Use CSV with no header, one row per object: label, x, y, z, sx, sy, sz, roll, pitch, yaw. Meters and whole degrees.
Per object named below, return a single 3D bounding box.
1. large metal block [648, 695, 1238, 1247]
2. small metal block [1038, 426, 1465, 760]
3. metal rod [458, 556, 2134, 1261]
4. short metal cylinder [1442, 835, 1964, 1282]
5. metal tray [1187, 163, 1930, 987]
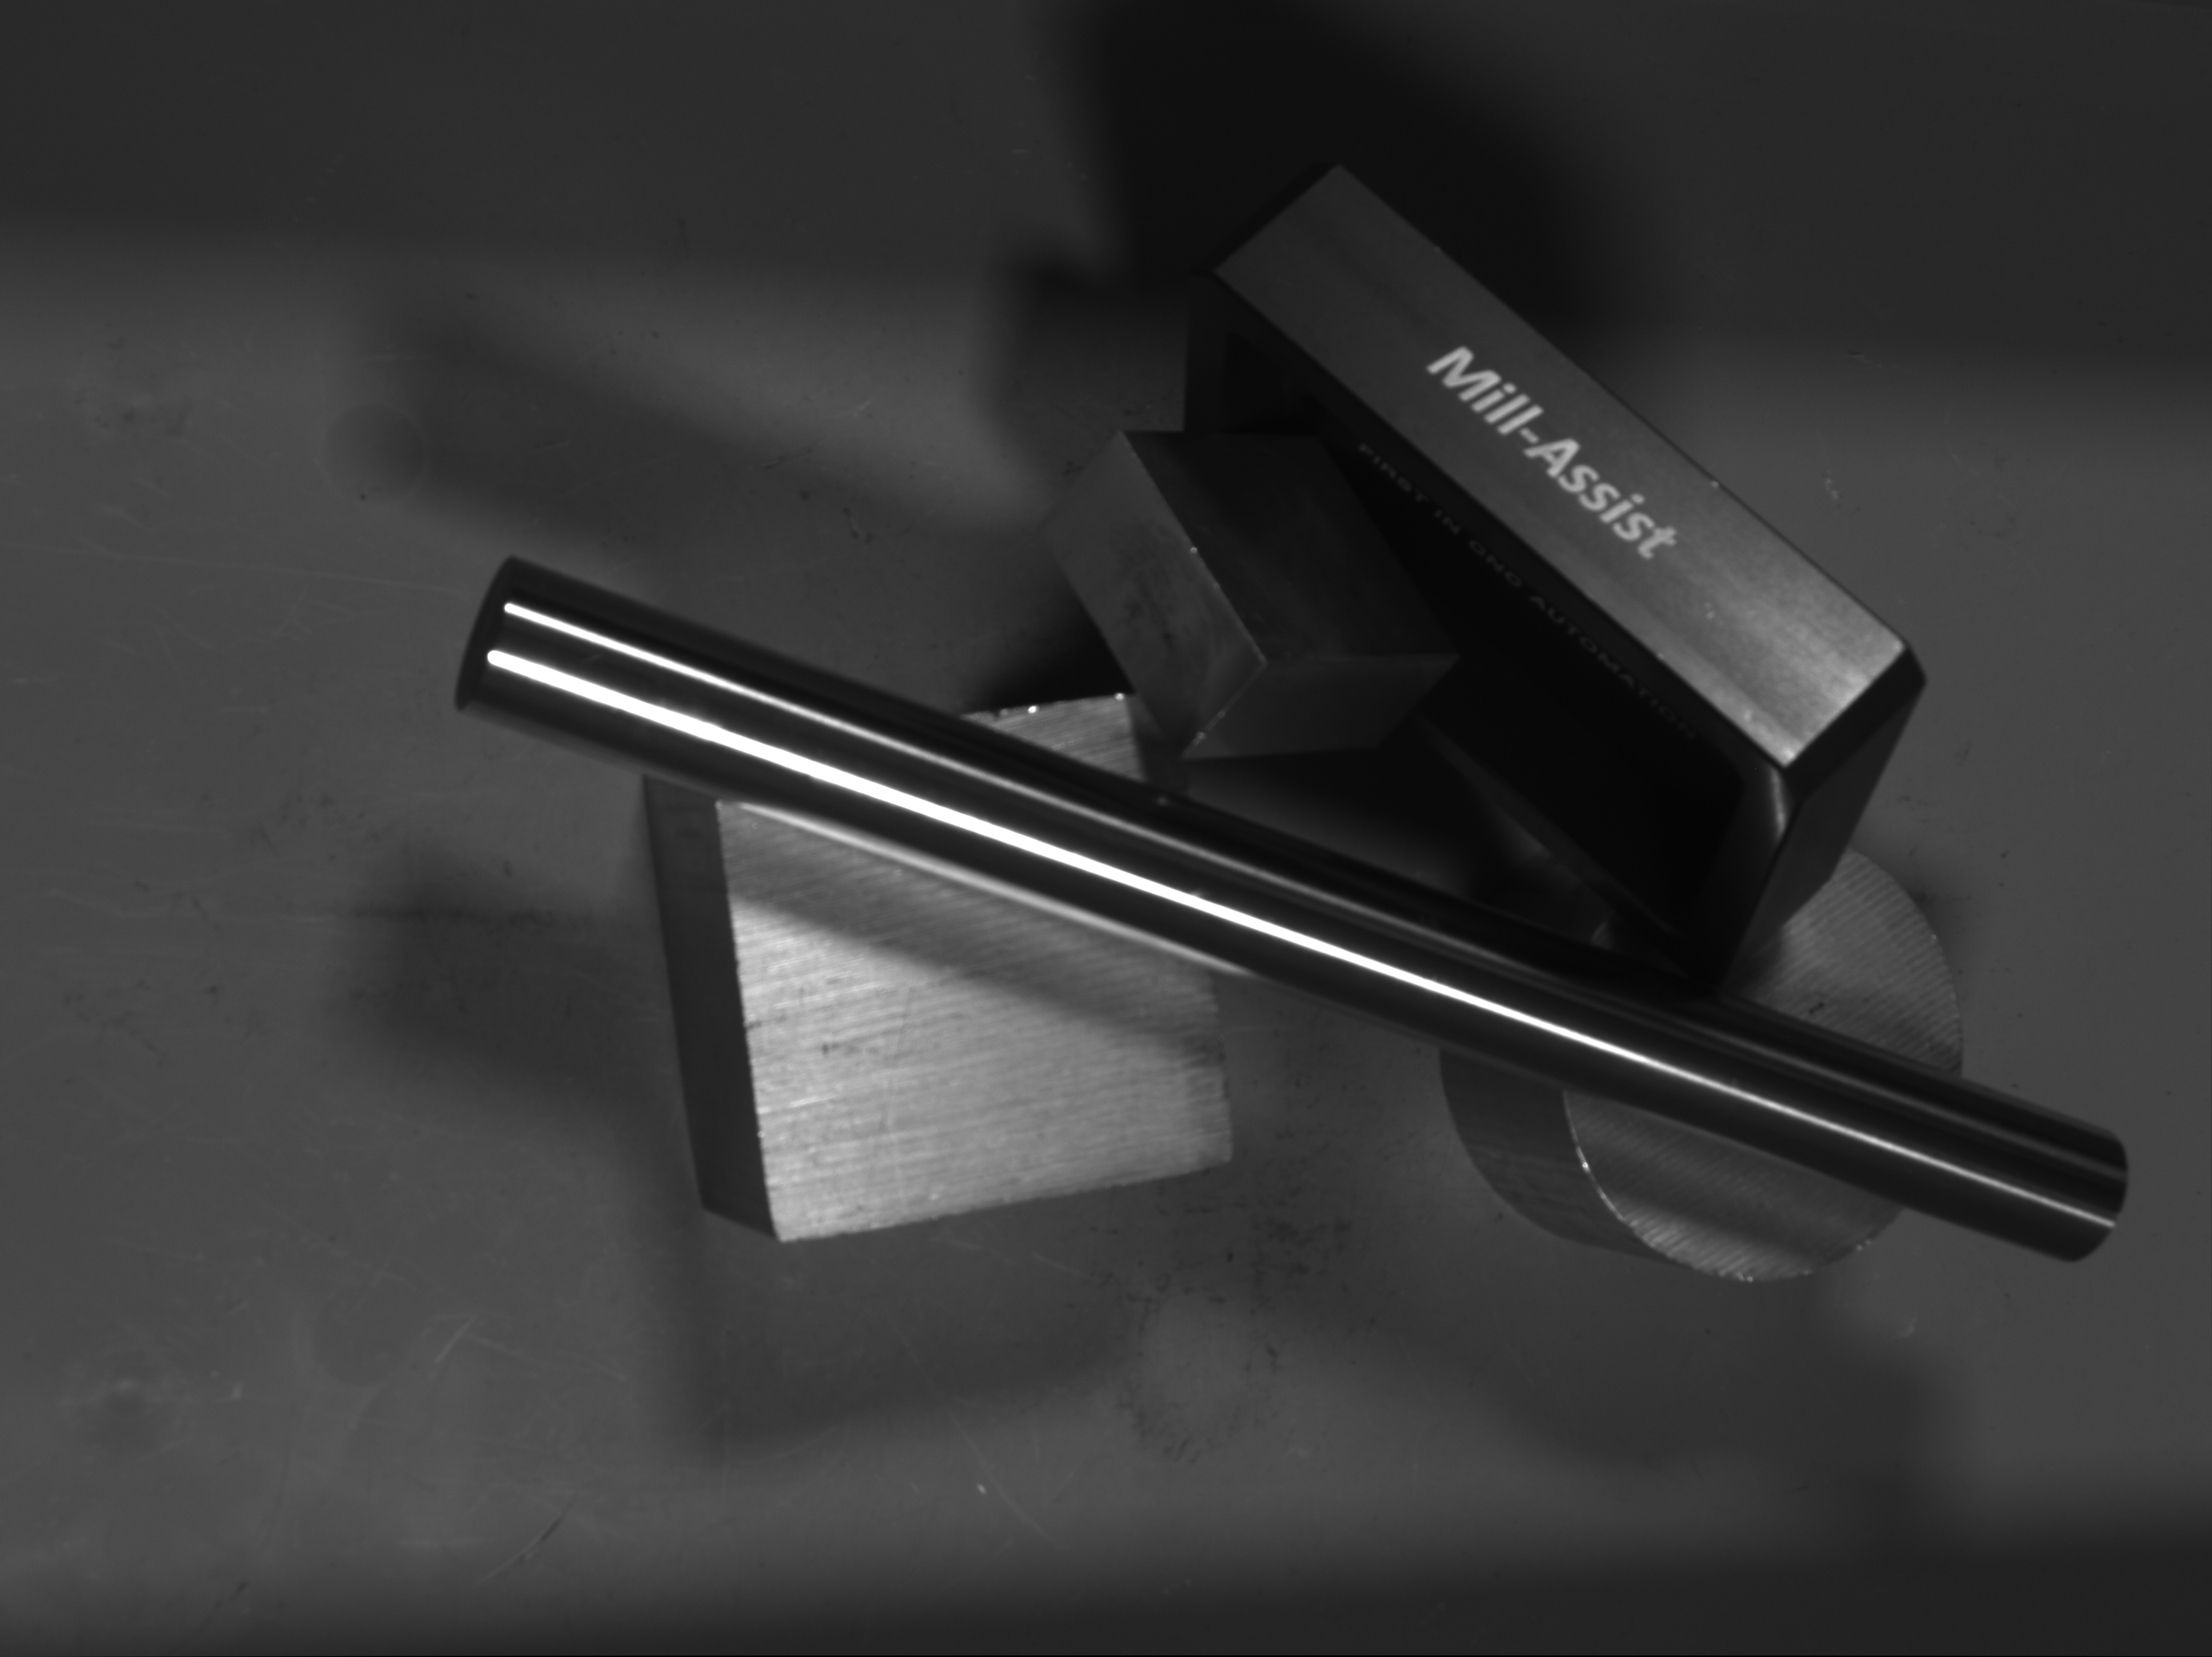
large metal block,-0.029,0.022,0.619,0.080,0.050,0.080,-8,93,-20
small metal block,0.025,-0.040,0.615,0.050,0.025,0.050,-4,56,-46
metal rod,0.041,0.018,0.603,0.301,0.025,0.025,19,83,-19
short metal cylinder,0.108,0.040,0.668,0.080,0.050,0.080,0,90,-20
metal tray,0.070,-0.040,0.607,0.030,0.090,0.130,-42,73,-16
